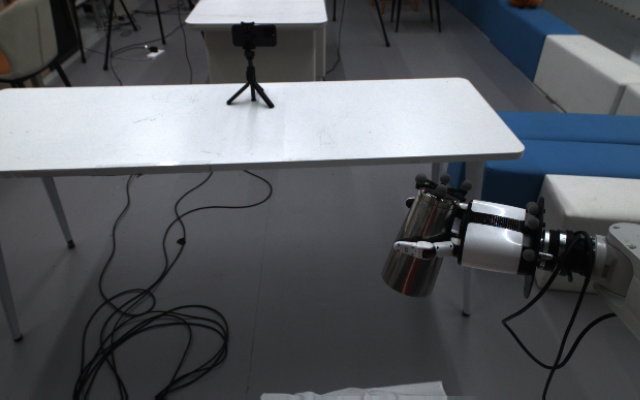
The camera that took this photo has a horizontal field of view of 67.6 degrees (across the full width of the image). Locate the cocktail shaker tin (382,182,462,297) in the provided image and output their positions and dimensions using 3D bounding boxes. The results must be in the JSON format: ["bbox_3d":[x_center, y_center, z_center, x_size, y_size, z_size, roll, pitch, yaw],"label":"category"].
[{"bbox_3d":[0.171,0.061,0.797,0.093,0.170,0.093,12,24,-5],"label":"cocktail shaker tin"}]
